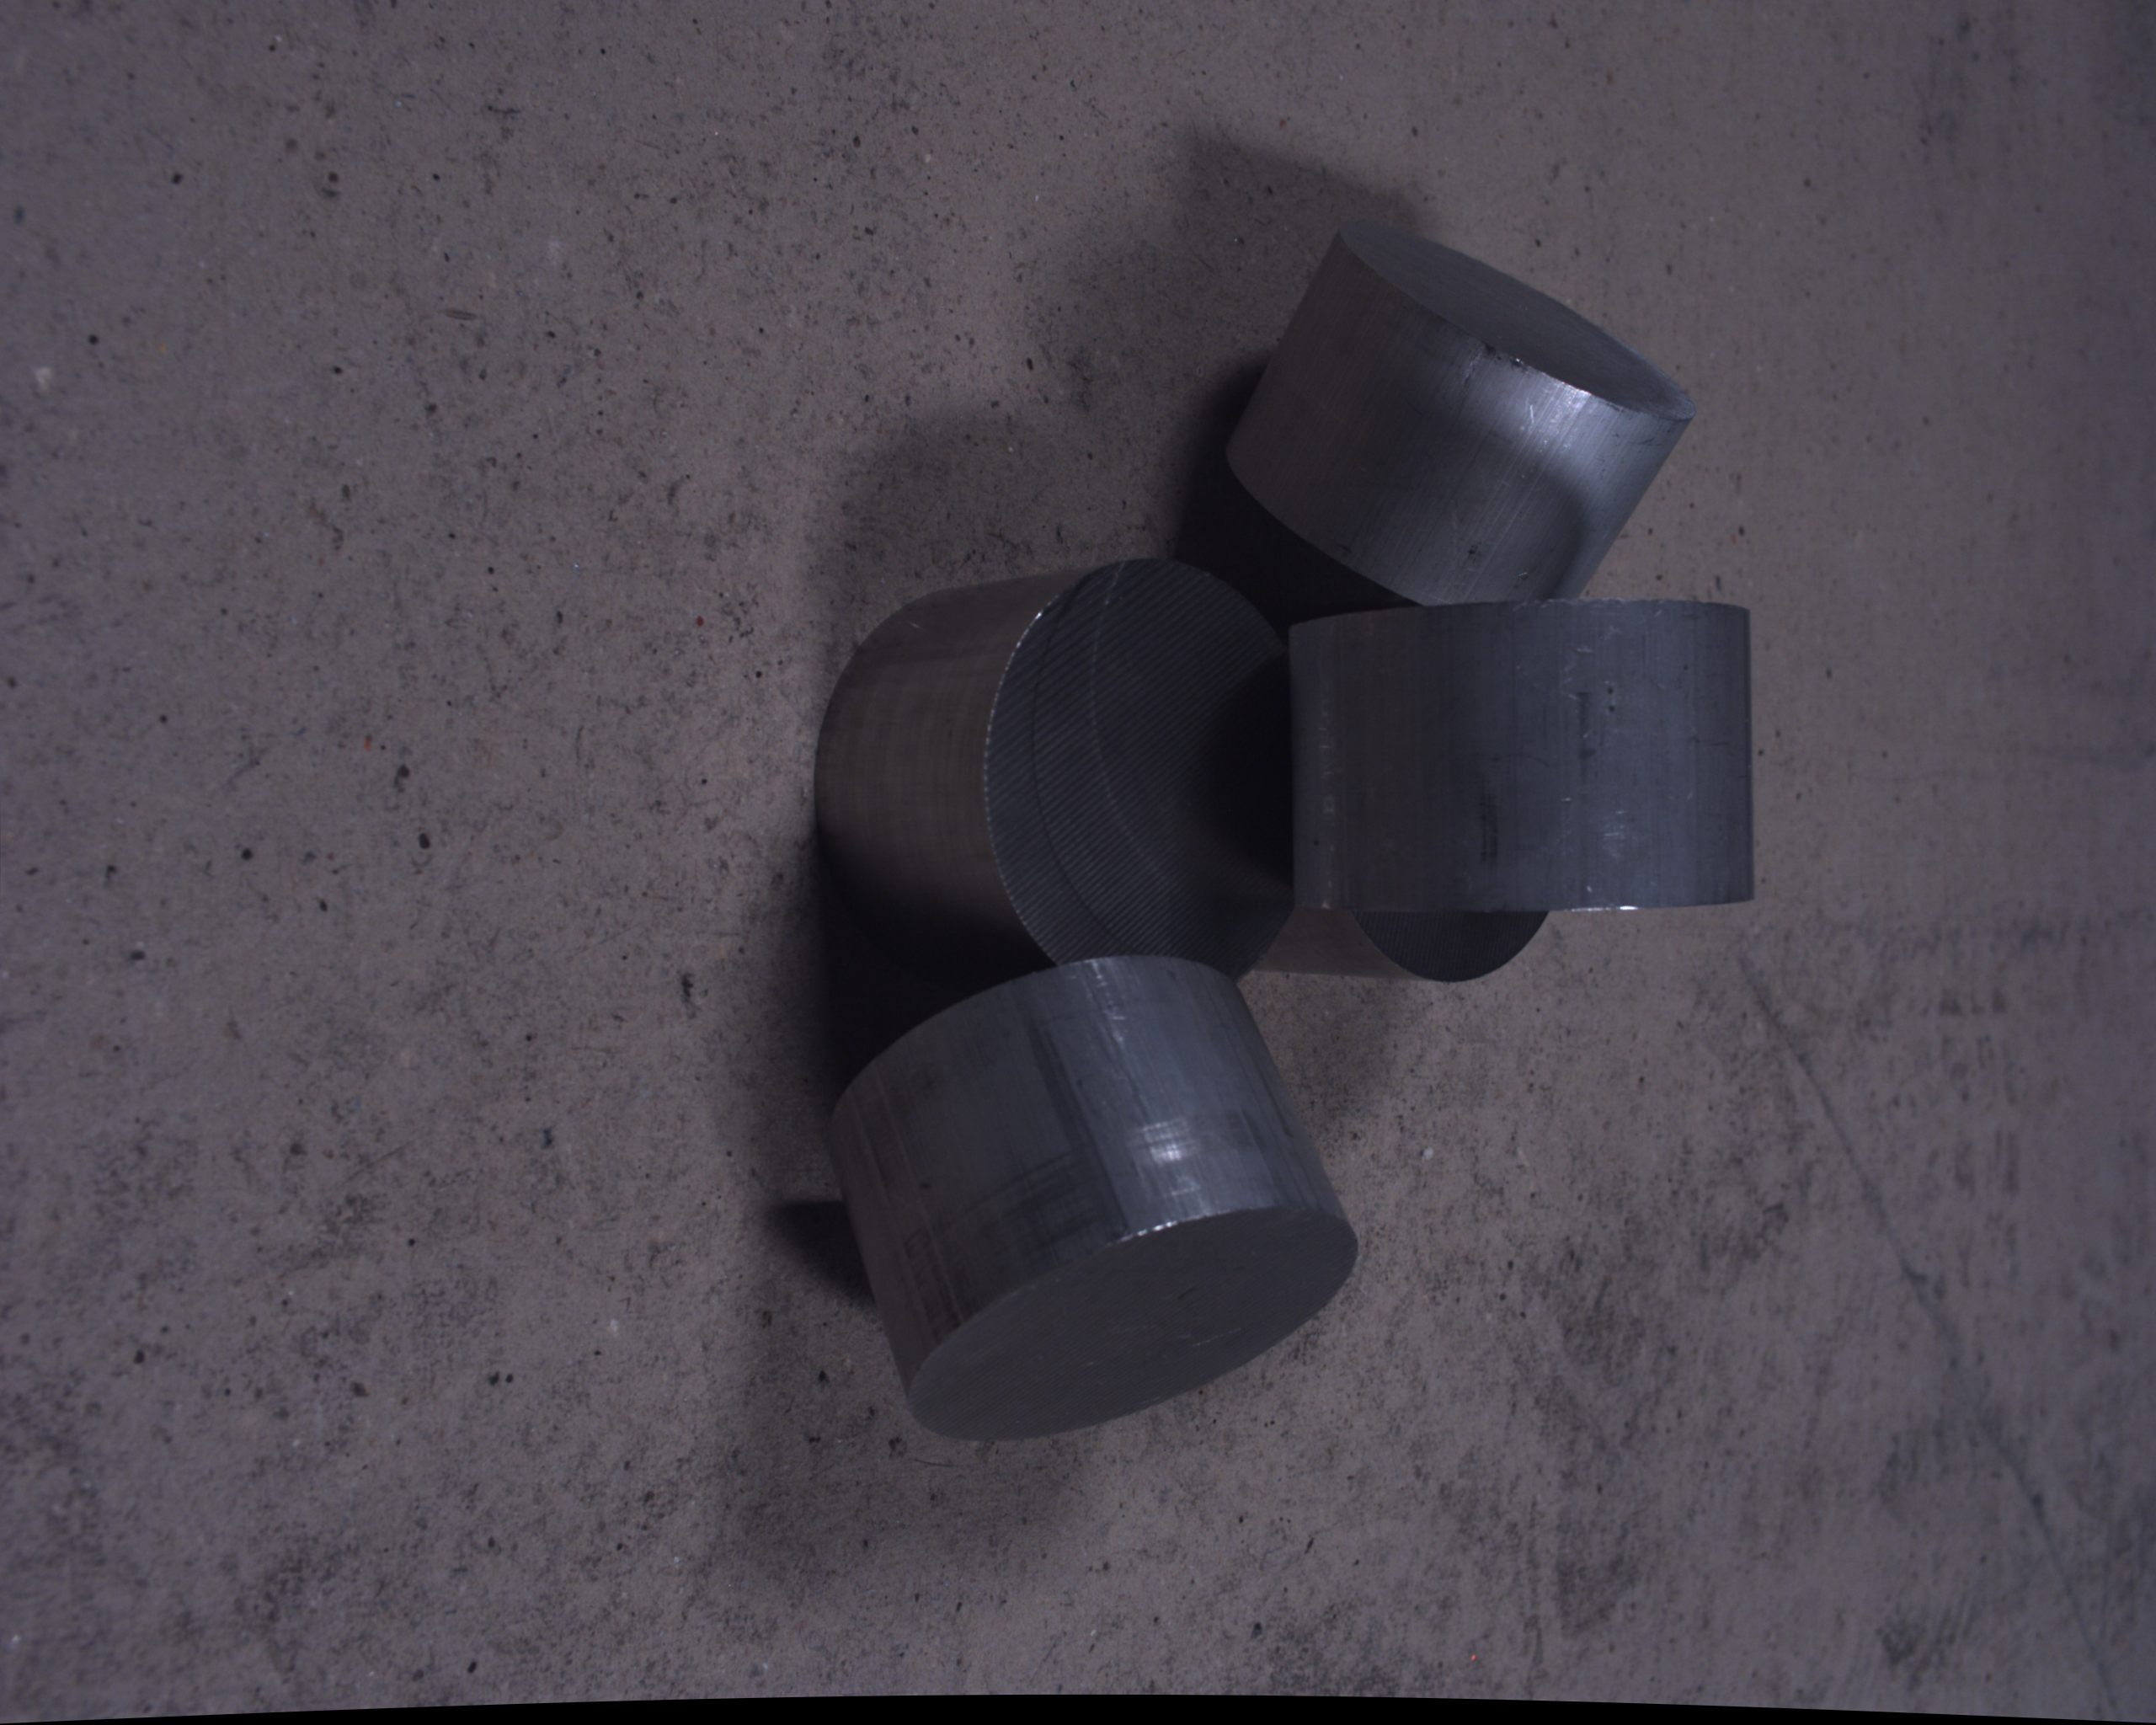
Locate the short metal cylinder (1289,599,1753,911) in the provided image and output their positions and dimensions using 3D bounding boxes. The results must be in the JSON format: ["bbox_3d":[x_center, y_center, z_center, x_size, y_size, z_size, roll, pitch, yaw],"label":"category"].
[{"bbox_3d":[0.078,-0.018,0.373,0.081,0.080,0.050,-2,92,-40],"label":"short metal cylinder"}]

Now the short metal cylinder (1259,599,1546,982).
[{"bbox_3d":[0.061,-0.016,0.442,0.081,0.050,0.079,0,90,-40],"label":"short metal cylinder"}]

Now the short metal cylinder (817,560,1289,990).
[{"bbox_3d":[-0.001,-0.014,0.390,0.081,0.050,0.079,0,90,-40],"label":"short metal cylinder"}]

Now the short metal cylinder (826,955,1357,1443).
[{"bbox_3d":[0.002,0.060,0.365,0.081,0.080,0.050,10,45,-40],"label":"short metal cylinder"}]

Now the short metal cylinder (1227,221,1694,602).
[{"bbox_3d":[0.078,-0.090,0.429,0.081,0.080,0.050,1,128,-40],"label":"short metal cylinder"}]
